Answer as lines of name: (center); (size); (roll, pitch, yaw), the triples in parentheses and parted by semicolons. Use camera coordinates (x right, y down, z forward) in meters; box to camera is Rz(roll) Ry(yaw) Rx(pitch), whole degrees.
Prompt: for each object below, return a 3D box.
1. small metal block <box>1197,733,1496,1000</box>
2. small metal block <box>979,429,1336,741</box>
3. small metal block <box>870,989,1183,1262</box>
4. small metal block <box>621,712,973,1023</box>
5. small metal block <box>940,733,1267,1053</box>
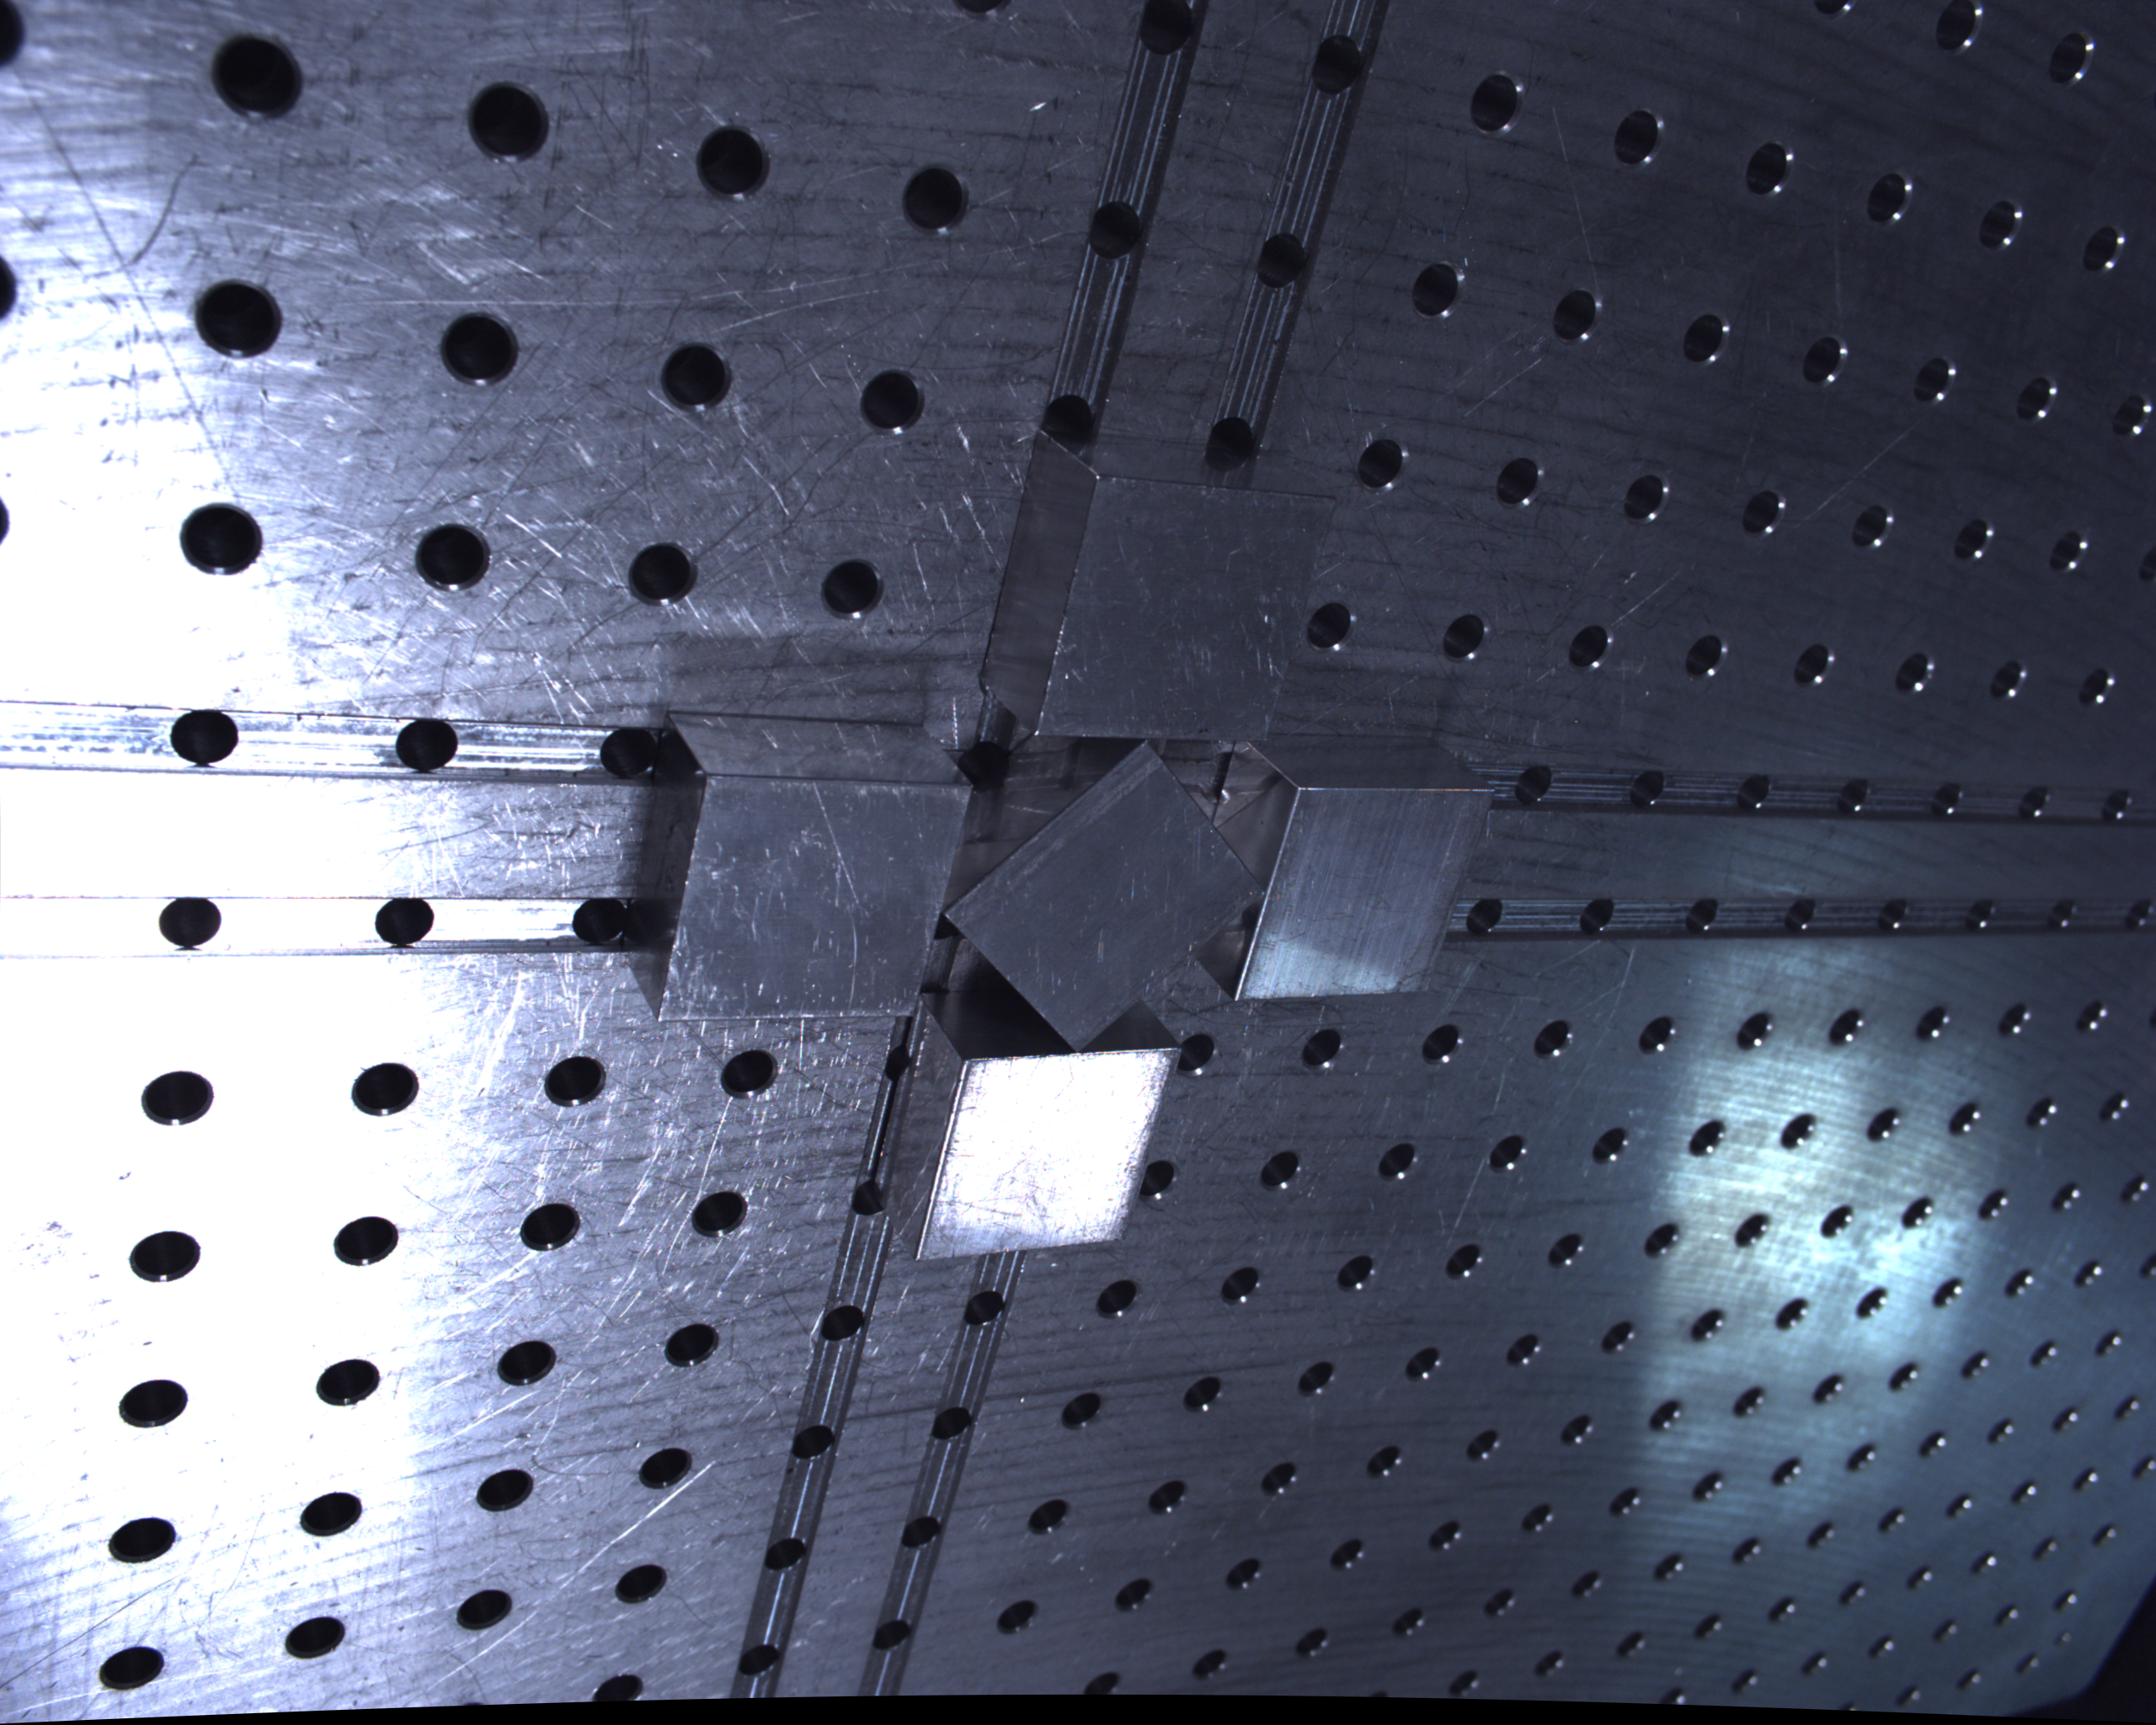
small metal block: (0.054, 0.001, 0.443); (0.050, 0.025, 0.050); (0, 119, -29)
small metal block: (0.014, -0.051, 0.389); (0.050, 0.025, 0.050); (-1, 119, -29)
small metal block: (-0.011, 0.054, 0.440); (0.050, 0.025, 0.050); (0, 118, -29)
small metal block: (-0.052, 0.001, 0.384); (0.050, 0.025, 0.050); (1, 118, -30)
small metal block: (0.001, 0.002, 0.414); (0.050, 0.025, 0.050); (-41, 130, -1)
